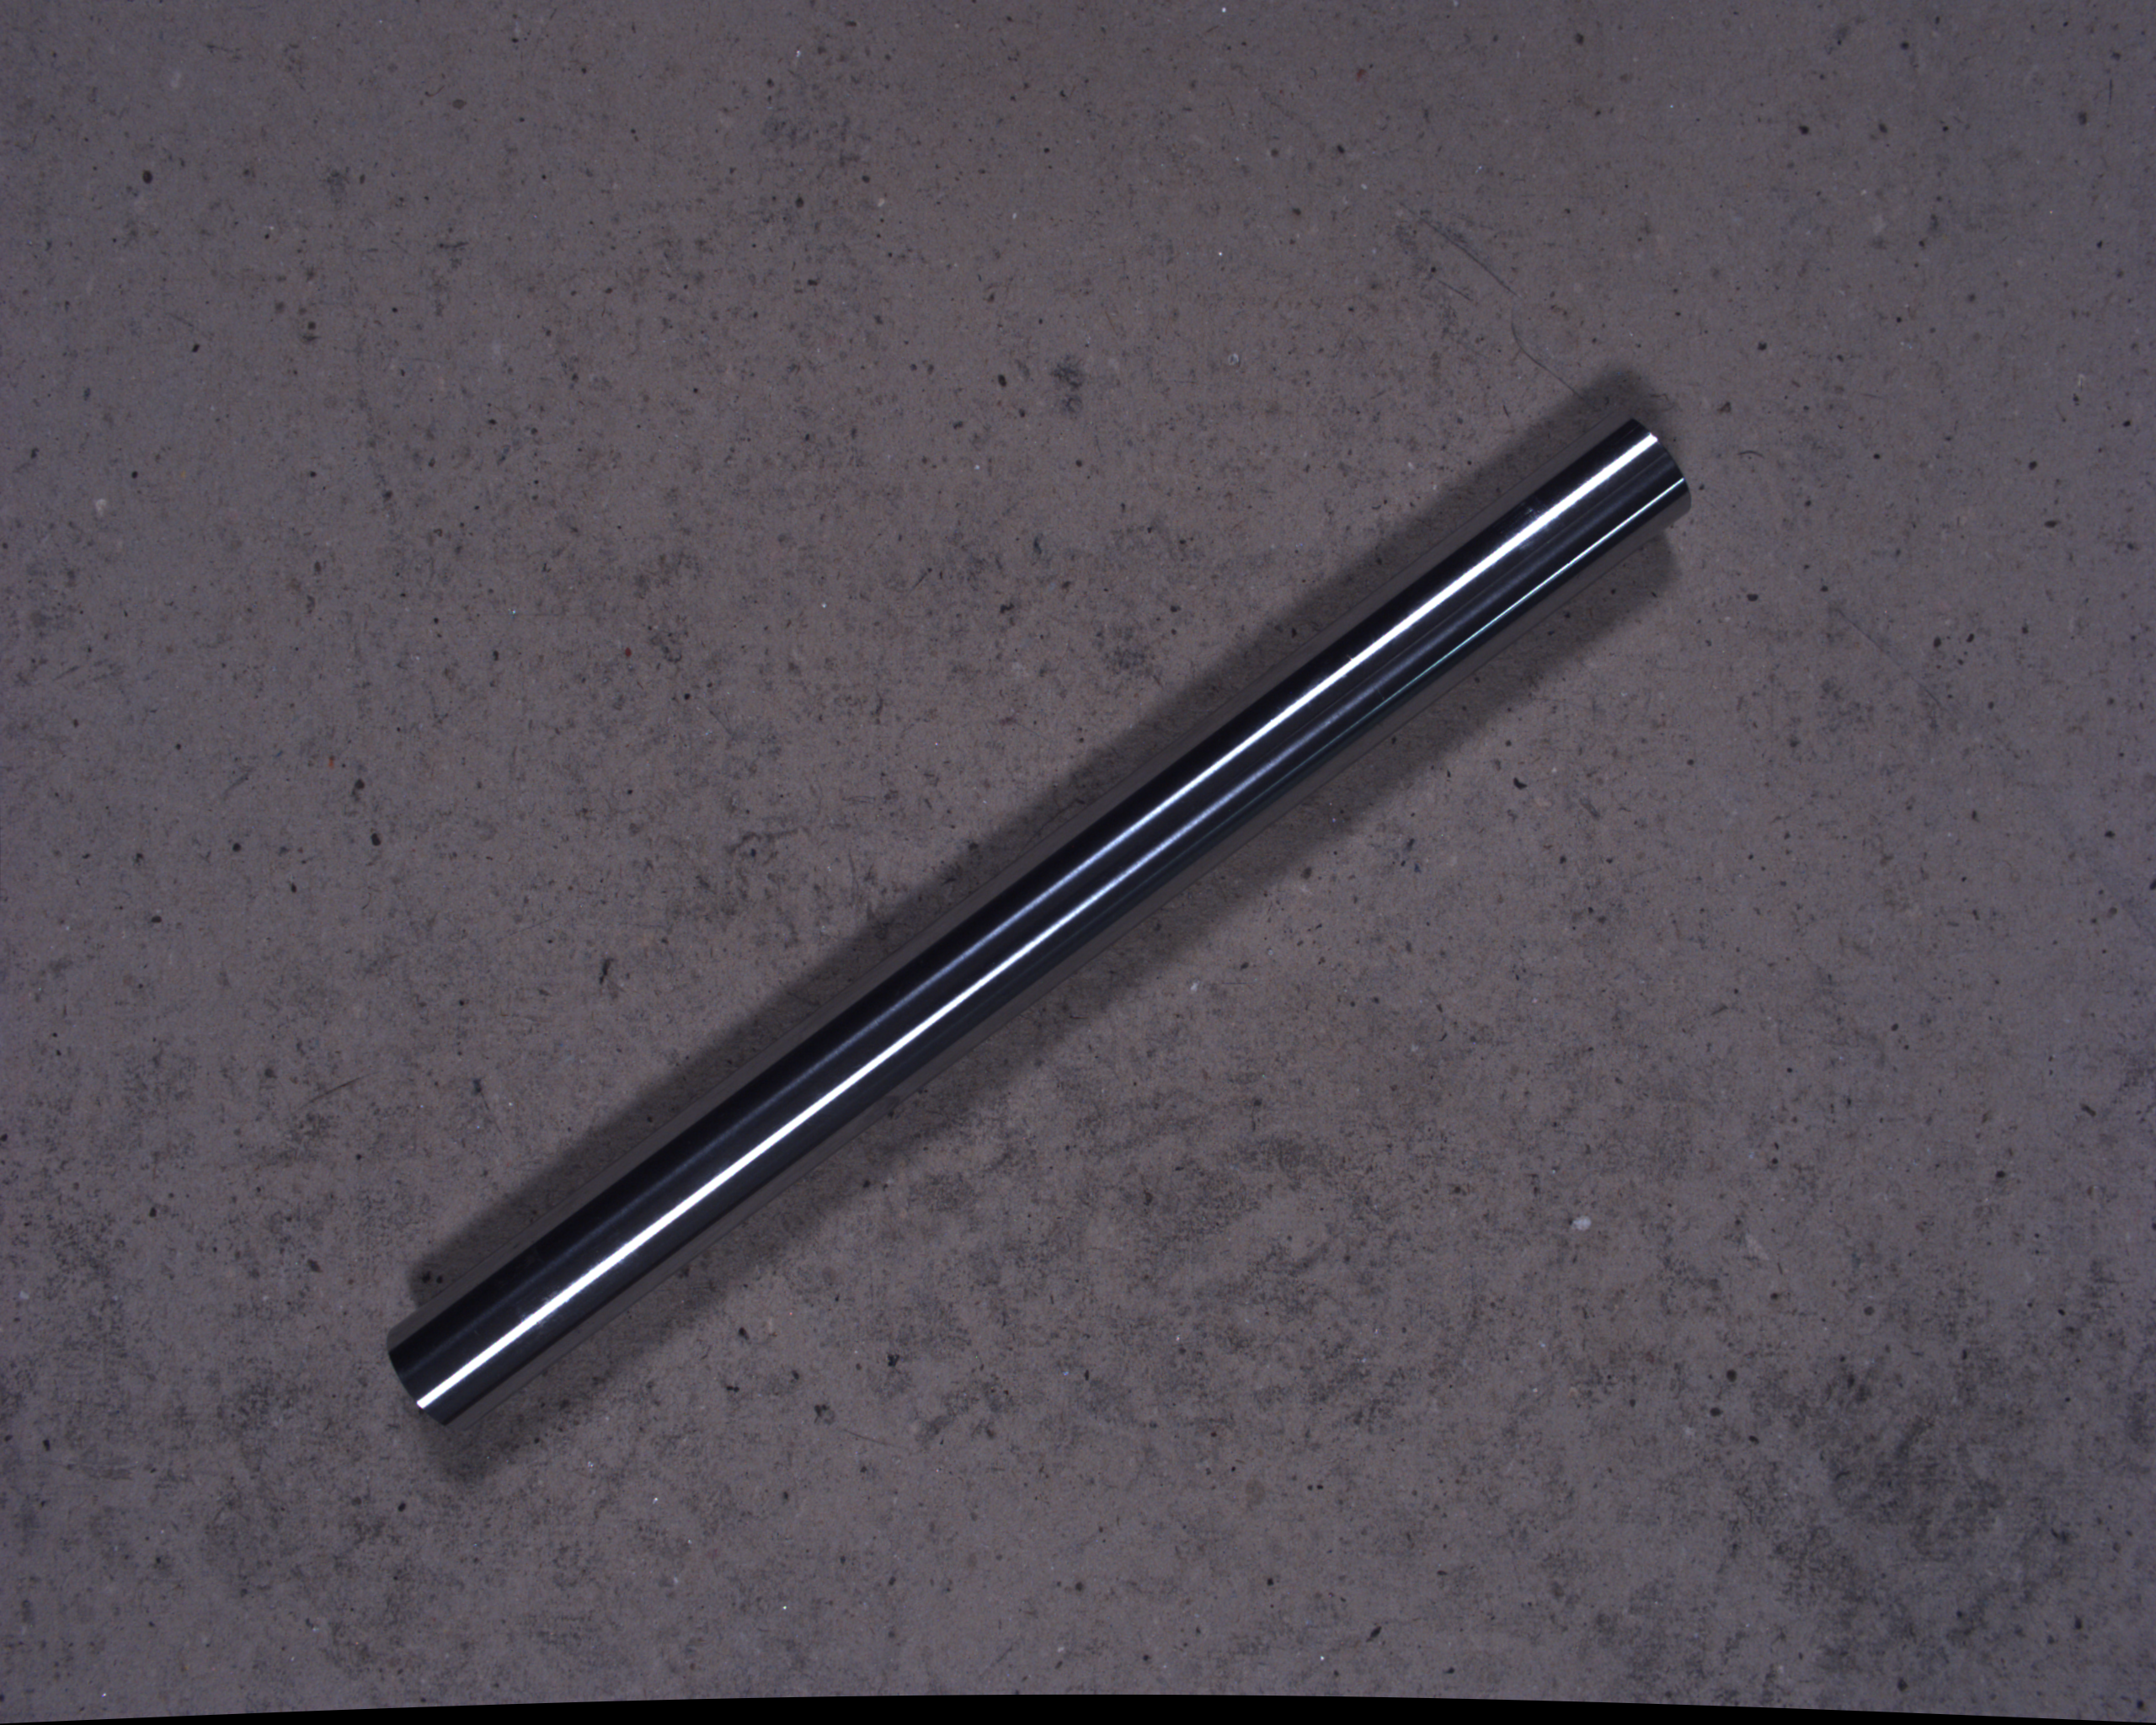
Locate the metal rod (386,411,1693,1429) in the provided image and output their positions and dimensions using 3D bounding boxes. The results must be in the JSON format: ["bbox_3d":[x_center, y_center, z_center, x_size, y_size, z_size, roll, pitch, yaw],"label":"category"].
[{"bbox_3d":[-0.007,0.011,0.411,0.301,0.025,0.025,-37,90,-1],"label":"metal rod"}]
